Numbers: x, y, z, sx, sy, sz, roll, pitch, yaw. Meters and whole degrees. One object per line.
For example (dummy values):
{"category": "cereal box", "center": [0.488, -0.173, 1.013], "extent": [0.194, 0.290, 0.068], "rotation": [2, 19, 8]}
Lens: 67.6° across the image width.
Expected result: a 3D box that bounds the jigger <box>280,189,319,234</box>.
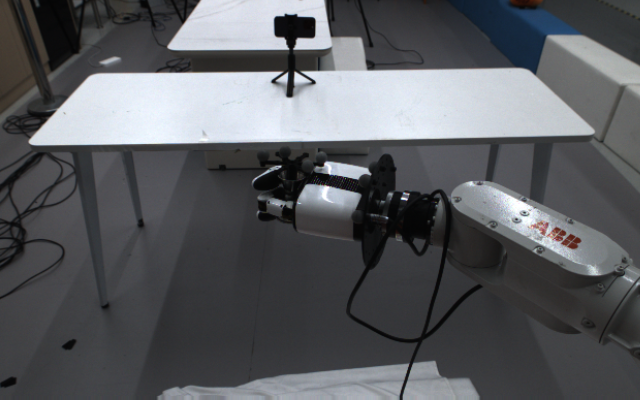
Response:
{"category": "jigger", "center": [-0.038, -0.006, 0.702], "extent": [0.043, 0.071, 0.043], "rotation": [3, 25, -1]}
